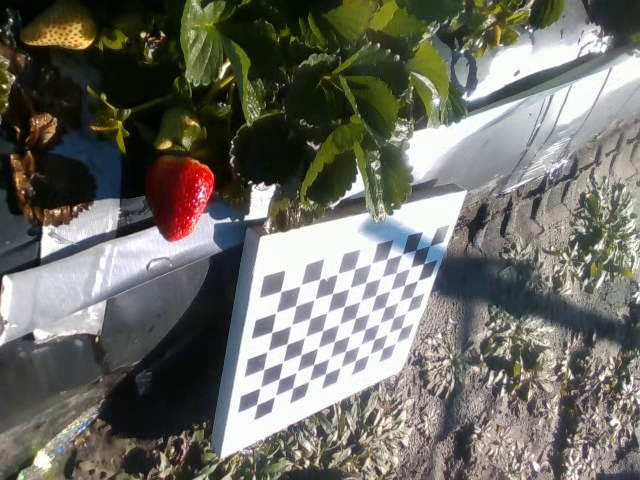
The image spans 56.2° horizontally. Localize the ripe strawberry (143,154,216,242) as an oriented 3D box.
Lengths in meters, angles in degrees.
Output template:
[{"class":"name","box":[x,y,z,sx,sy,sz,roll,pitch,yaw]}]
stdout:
[{"class":"ripe strawberry","box":[-0.104,-0.026,0.451,0.057,0.065,0.061,-13,-23,27]}]
